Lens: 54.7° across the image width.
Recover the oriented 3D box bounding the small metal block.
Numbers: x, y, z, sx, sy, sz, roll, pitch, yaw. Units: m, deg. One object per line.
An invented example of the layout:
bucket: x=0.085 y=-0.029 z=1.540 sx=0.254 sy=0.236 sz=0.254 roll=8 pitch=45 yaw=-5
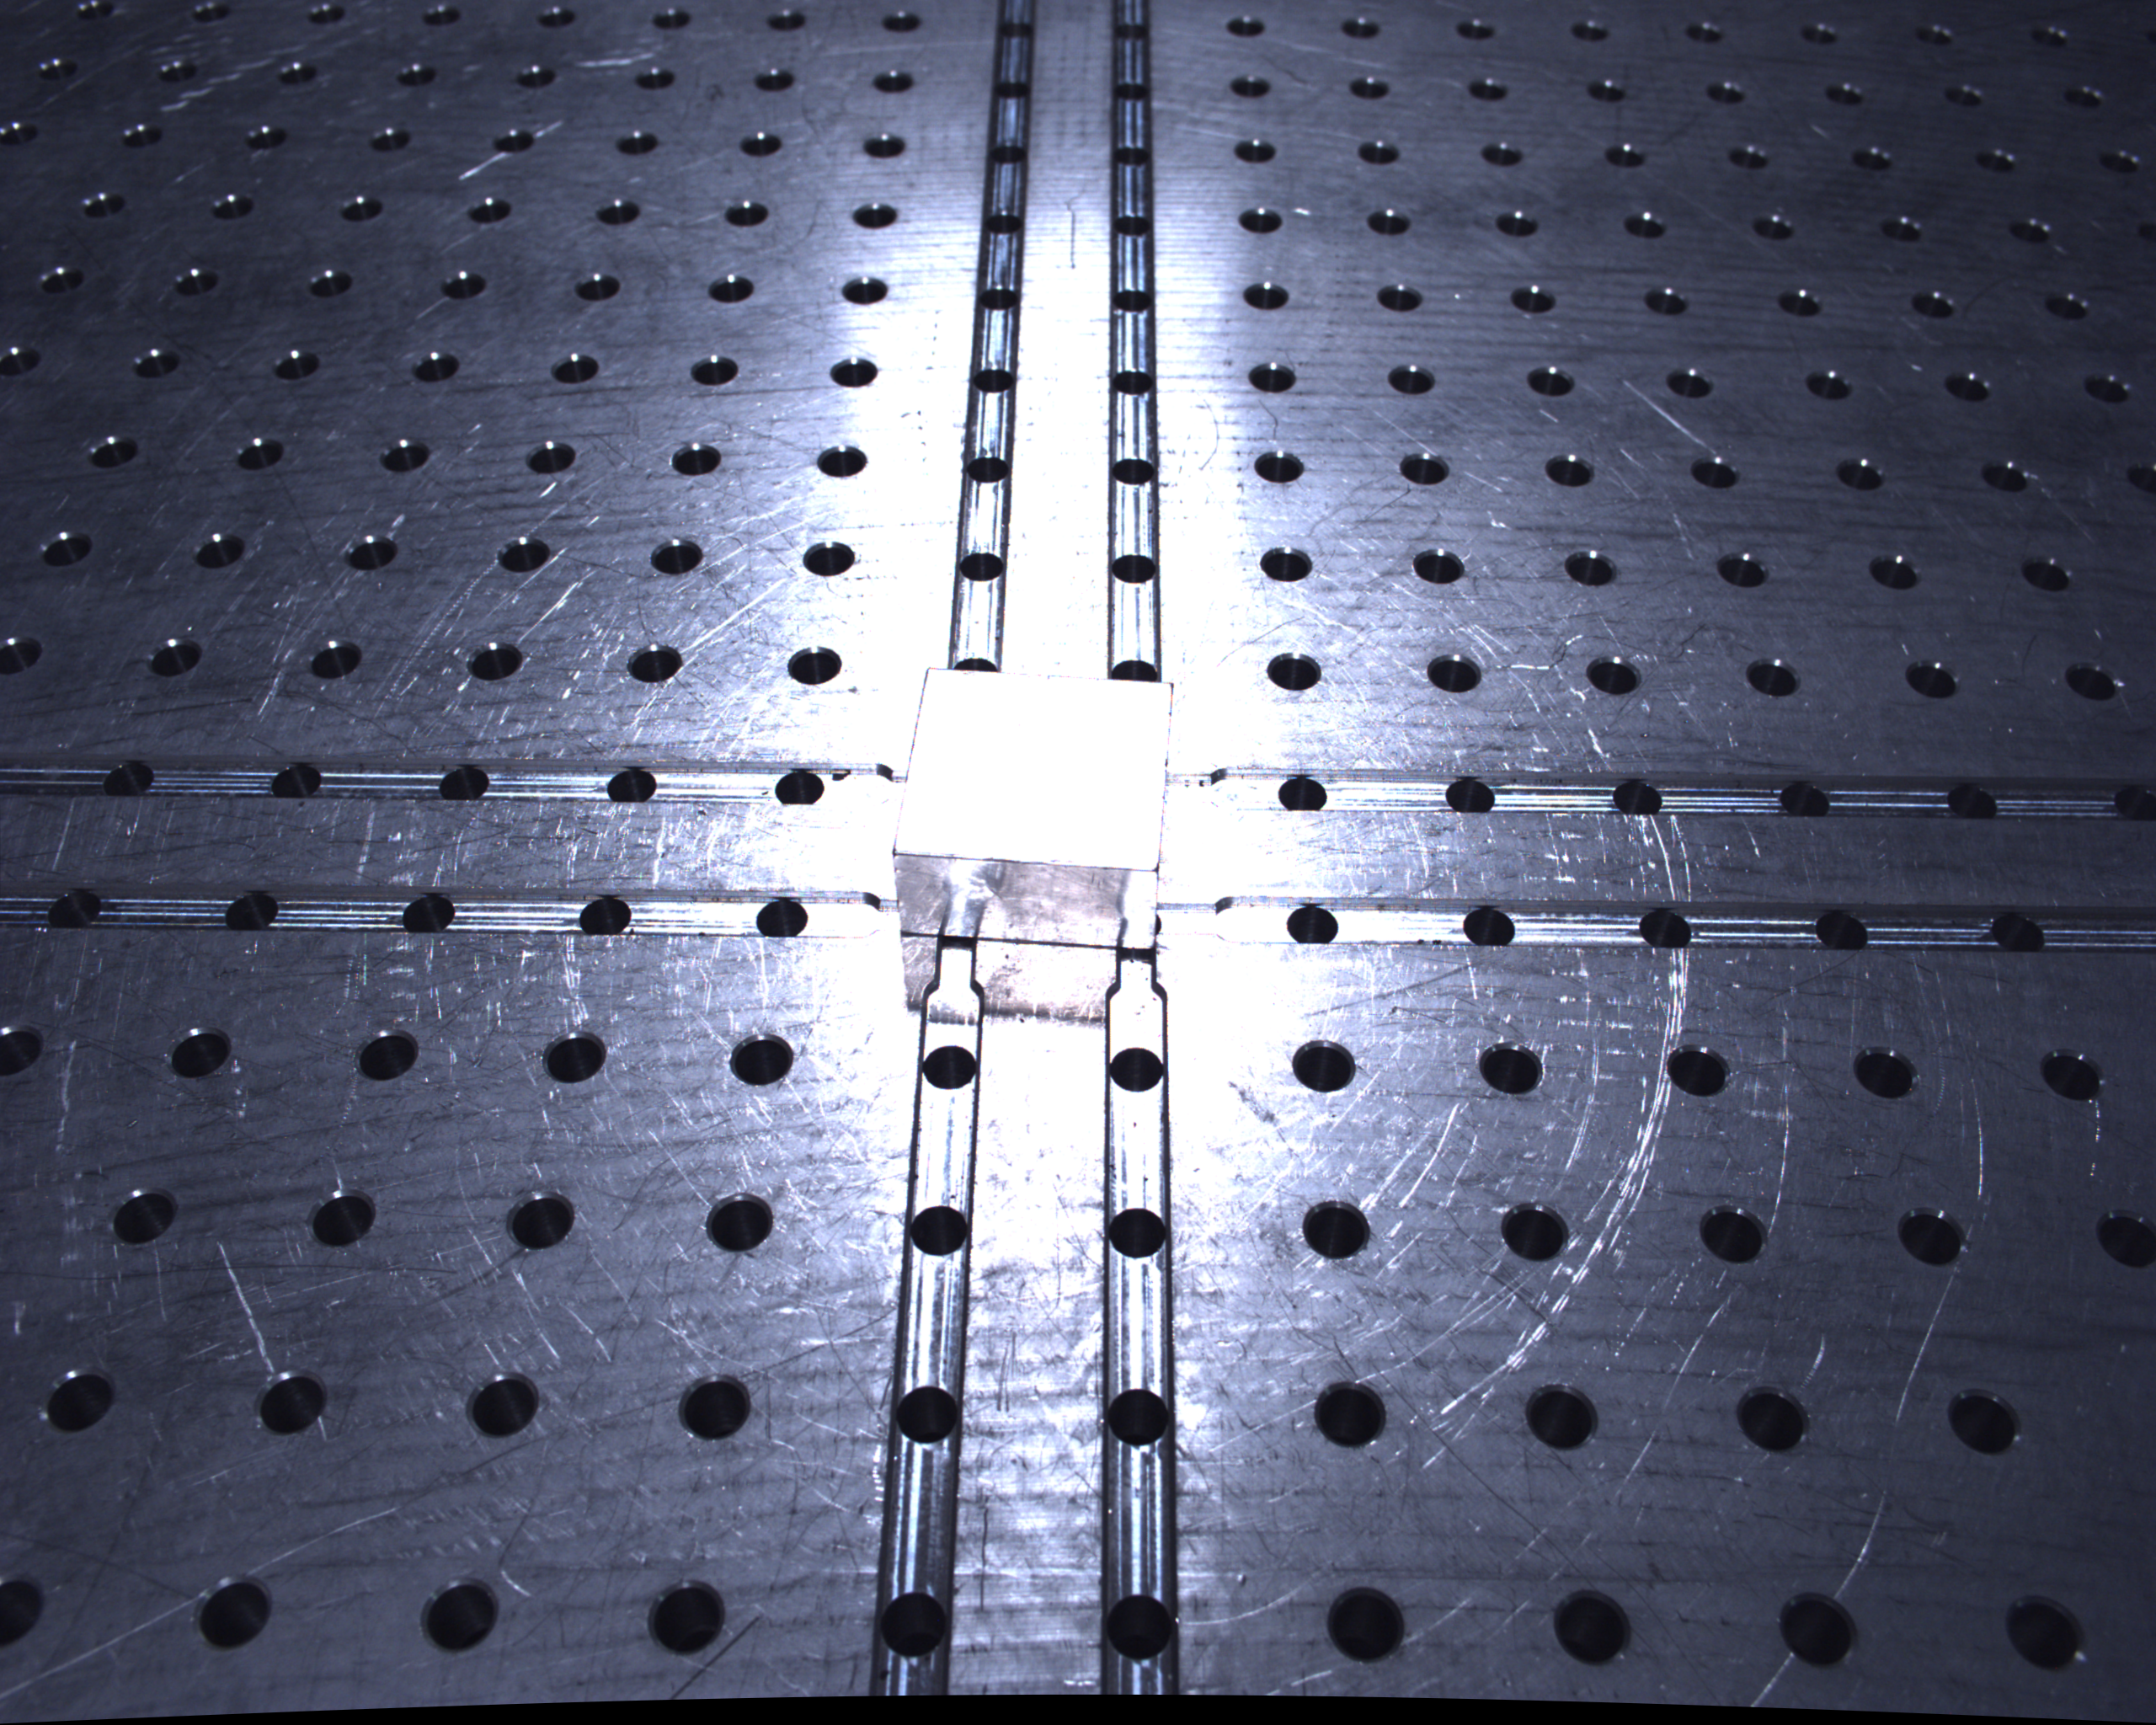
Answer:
small metal block: x=-0.008 y=-0.011 z=0.417 sx=0.050 sy=0.025 sz=0.050 roll=4 pitch=50 yaw=3
